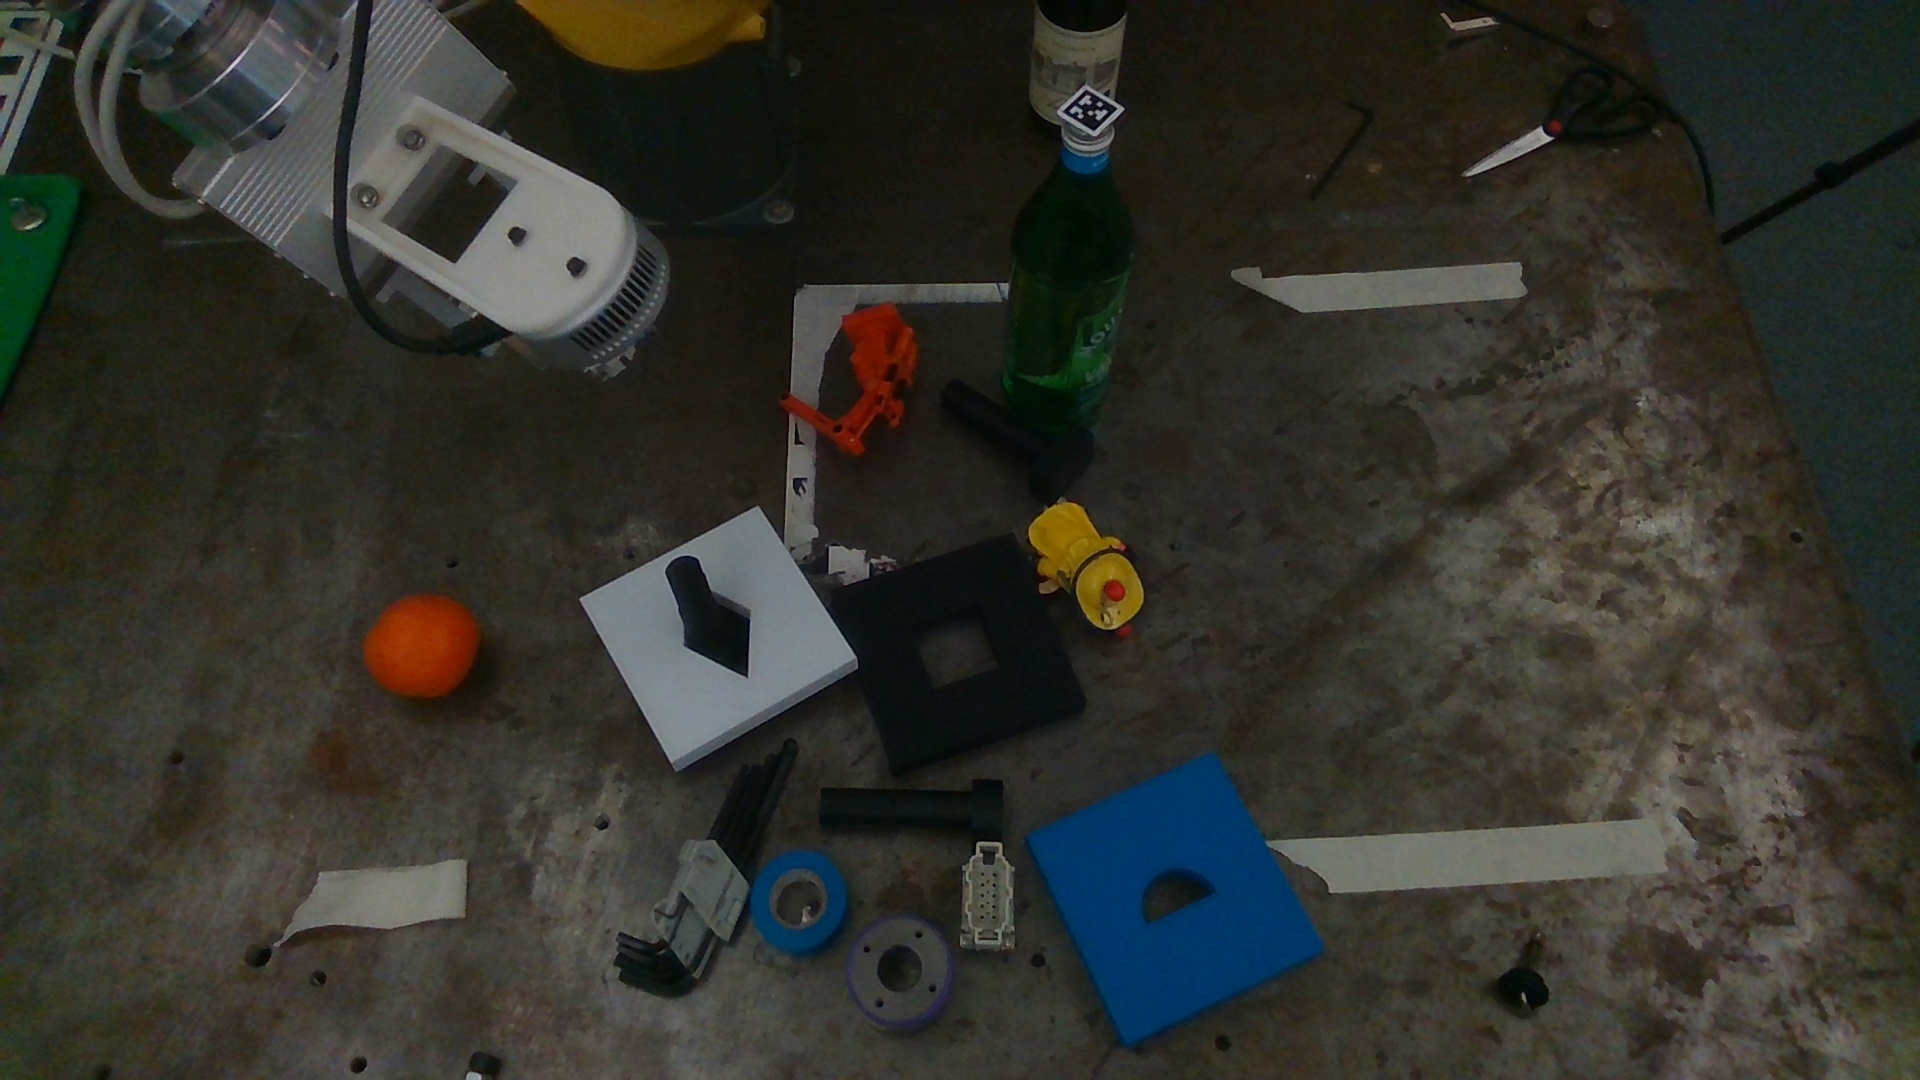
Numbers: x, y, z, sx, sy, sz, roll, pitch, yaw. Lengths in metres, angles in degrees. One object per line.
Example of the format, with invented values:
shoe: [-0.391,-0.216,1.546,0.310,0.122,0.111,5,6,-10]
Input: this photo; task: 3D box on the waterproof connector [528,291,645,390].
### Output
waterproof connector: [-0.191,-0.102,0.718,0.069,0.038,0.036,24,79,46]
